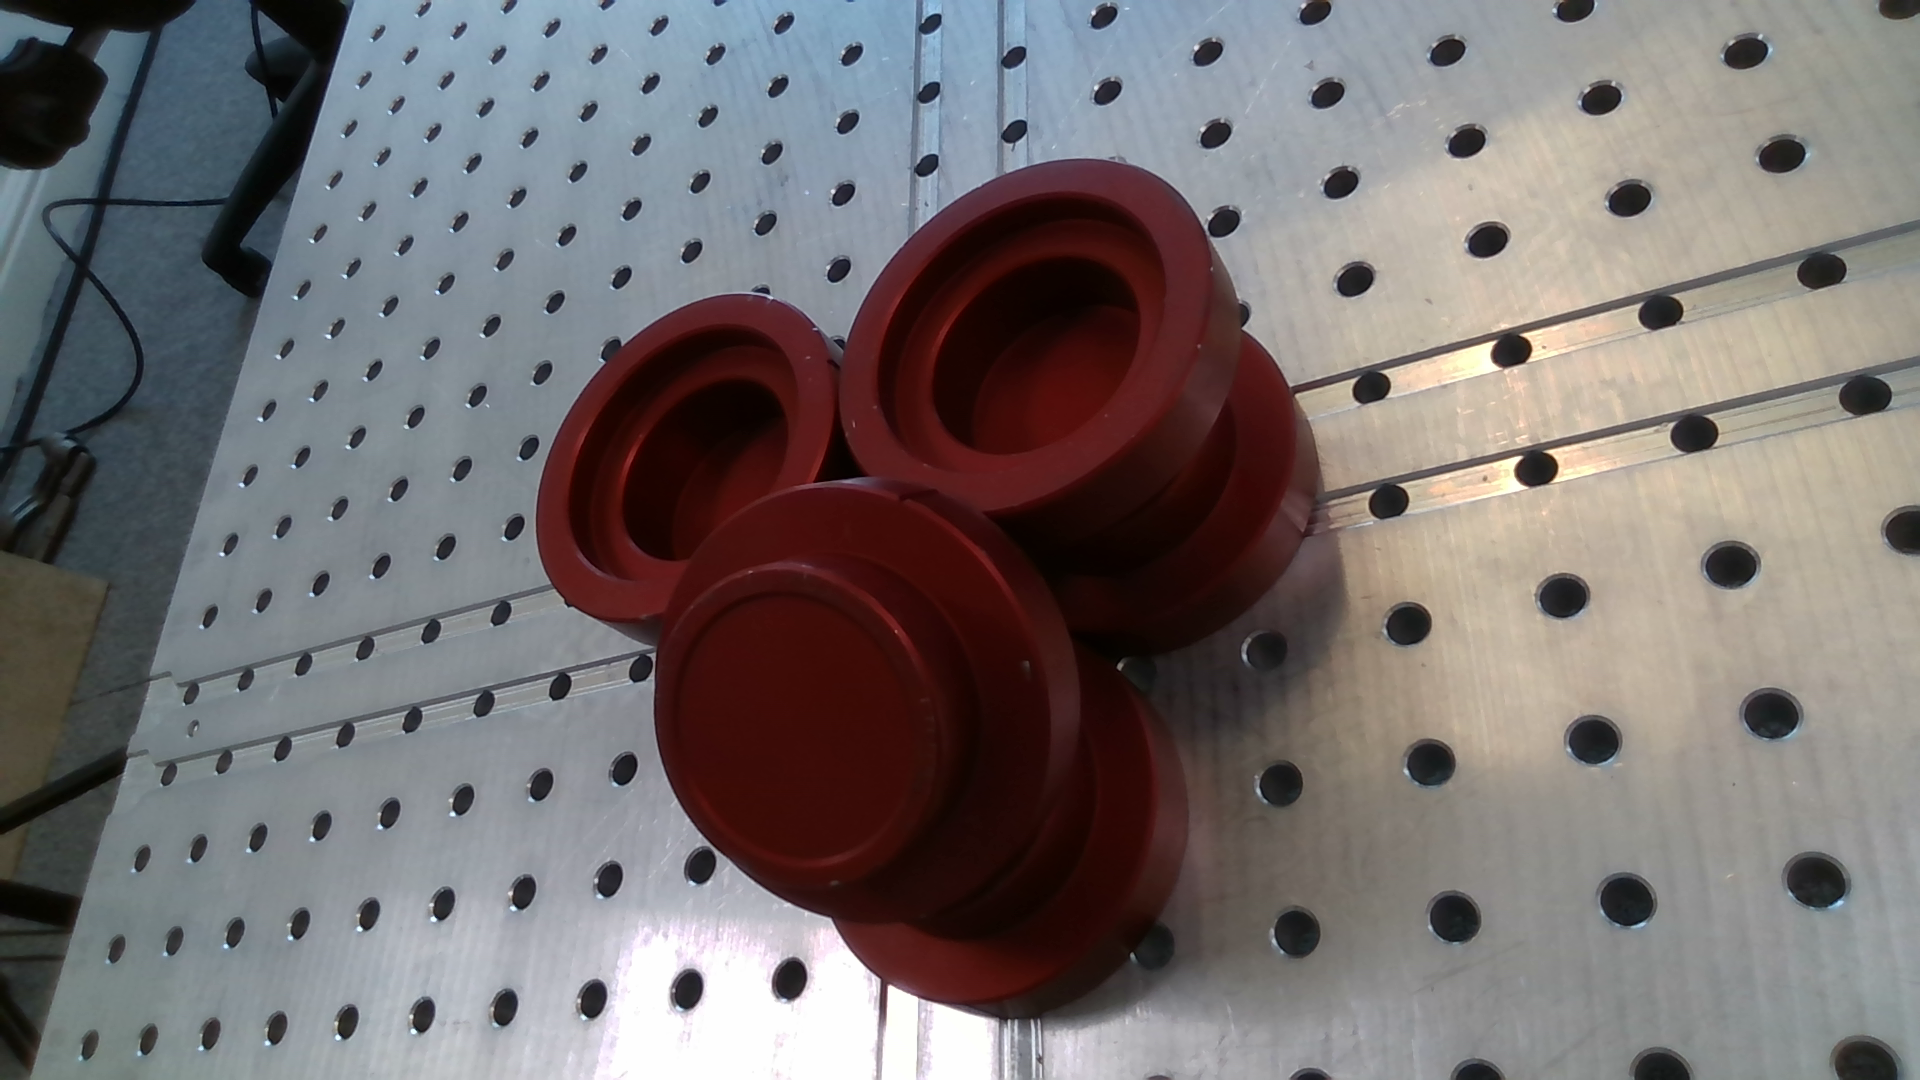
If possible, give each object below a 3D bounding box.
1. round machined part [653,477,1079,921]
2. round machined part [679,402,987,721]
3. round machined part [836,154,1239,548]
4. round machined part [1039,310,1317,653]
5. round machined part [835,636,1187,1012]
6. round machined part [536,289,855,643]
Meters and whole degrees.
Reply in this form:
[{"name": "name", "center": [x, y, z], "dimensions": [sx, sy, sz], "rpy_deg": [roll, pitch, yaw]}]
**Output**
[{"name": "round machined part", "center": [-0.027, 0.036, 0.300], "dimensions": [0.098, 0.042, 0.098], "rpy_deg": [3, 98, 23]}, {"name": "round machined part", "center": [-0.044, 0.001, 0.412], "dimensions": [0.098, 0.042, 0.098], "rpy_deg": [-14, 59, 25]}, {"name": "round machined part", "center": [0.022, -0.042, 0.339], "dimensions": [0.098, 0.042, 0.098], "rpy_deg": [-14, 59, 25]}, {"name": "round machined part", "center": [0.042, -0.022, 0.372], "dimensions": [0.098, 0.042, 0.098], "rpy_deg": [-14, 59, 25]}, {"name": "round machined part", "center": [0.004, 0.066, 0.348], "dimensions": [0.098, 0.042, 0.098], "rpy_deg": [-14, 59, 25]}, {"name": "round machined part", "center": [-0.065, -0.016, 0.379], "dimensions": [0.098, 0.042, 0.098], "rpy_deg": [-14, 59, 25]}]
